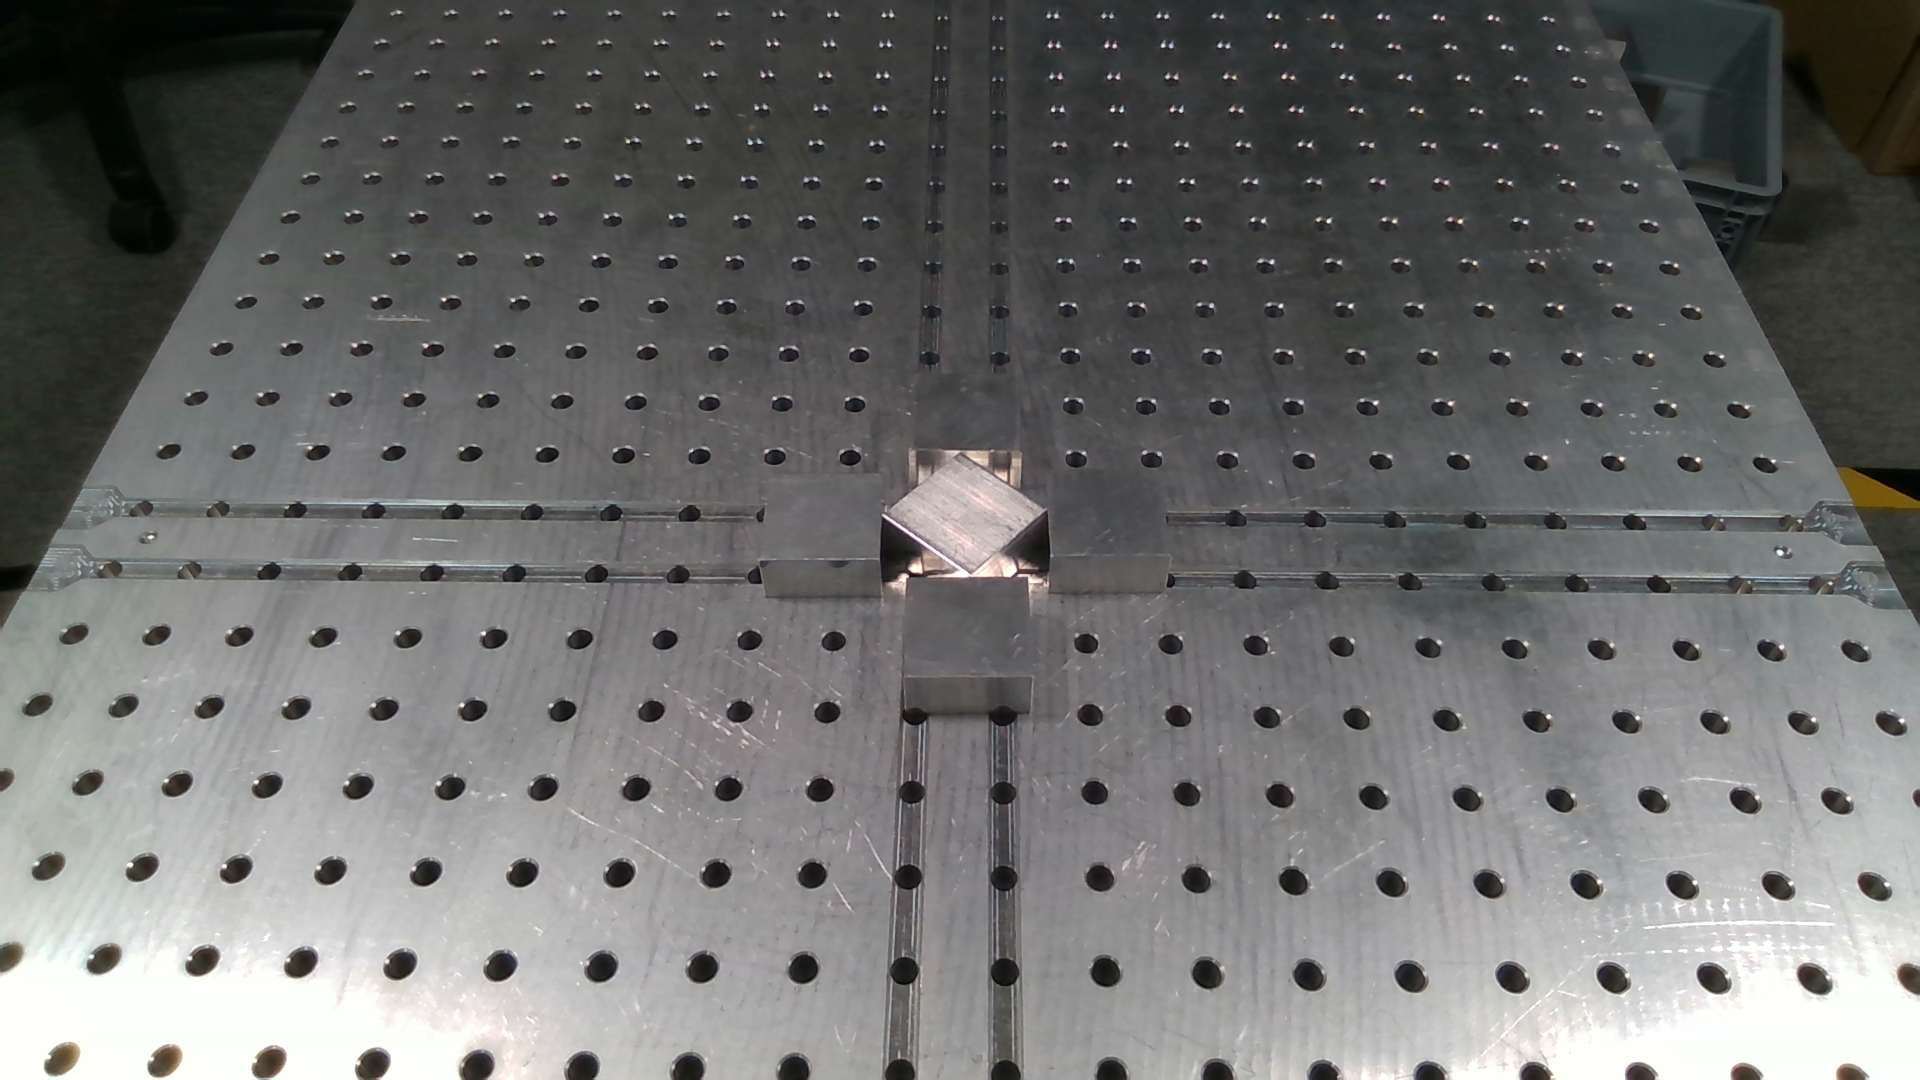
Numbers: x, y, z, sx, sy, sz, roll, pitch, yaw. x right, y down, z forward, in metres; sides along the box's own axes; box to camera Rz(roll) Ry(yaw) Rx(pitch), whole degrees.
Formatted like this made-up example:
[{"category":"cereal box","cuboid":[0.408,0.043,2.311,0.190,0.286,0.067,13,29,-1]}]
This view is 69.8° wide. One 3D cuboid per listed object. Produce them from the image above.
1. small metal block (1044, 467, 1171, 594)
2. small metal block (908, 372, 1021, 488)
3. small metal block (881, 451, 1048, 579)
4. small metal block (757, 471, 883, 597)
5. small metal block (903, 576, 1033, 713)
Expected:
[{"category":"small metal block","cuboid":[0.062,-0.005,0.594,0.050,0.025,0.050,-1,50,0]},{"category":"small metal block","cuboid":[0.002,-0.051,0.632,0.050,0.025,0.050,1,50,1]},{"category":"small metal block","cuboid":[0.002,-0.004,0.593,0.050,0.025,0.050,35,58,25]},{"category":"small metal block","cuboid":[-0.059,-0.003,0.592,0.050,0.025,0.050,0,50,0]},{"category":"small metal block","cuboid":[0.003,0.042,0.555,0.050,0.025,0.050,0,50,0]}]
